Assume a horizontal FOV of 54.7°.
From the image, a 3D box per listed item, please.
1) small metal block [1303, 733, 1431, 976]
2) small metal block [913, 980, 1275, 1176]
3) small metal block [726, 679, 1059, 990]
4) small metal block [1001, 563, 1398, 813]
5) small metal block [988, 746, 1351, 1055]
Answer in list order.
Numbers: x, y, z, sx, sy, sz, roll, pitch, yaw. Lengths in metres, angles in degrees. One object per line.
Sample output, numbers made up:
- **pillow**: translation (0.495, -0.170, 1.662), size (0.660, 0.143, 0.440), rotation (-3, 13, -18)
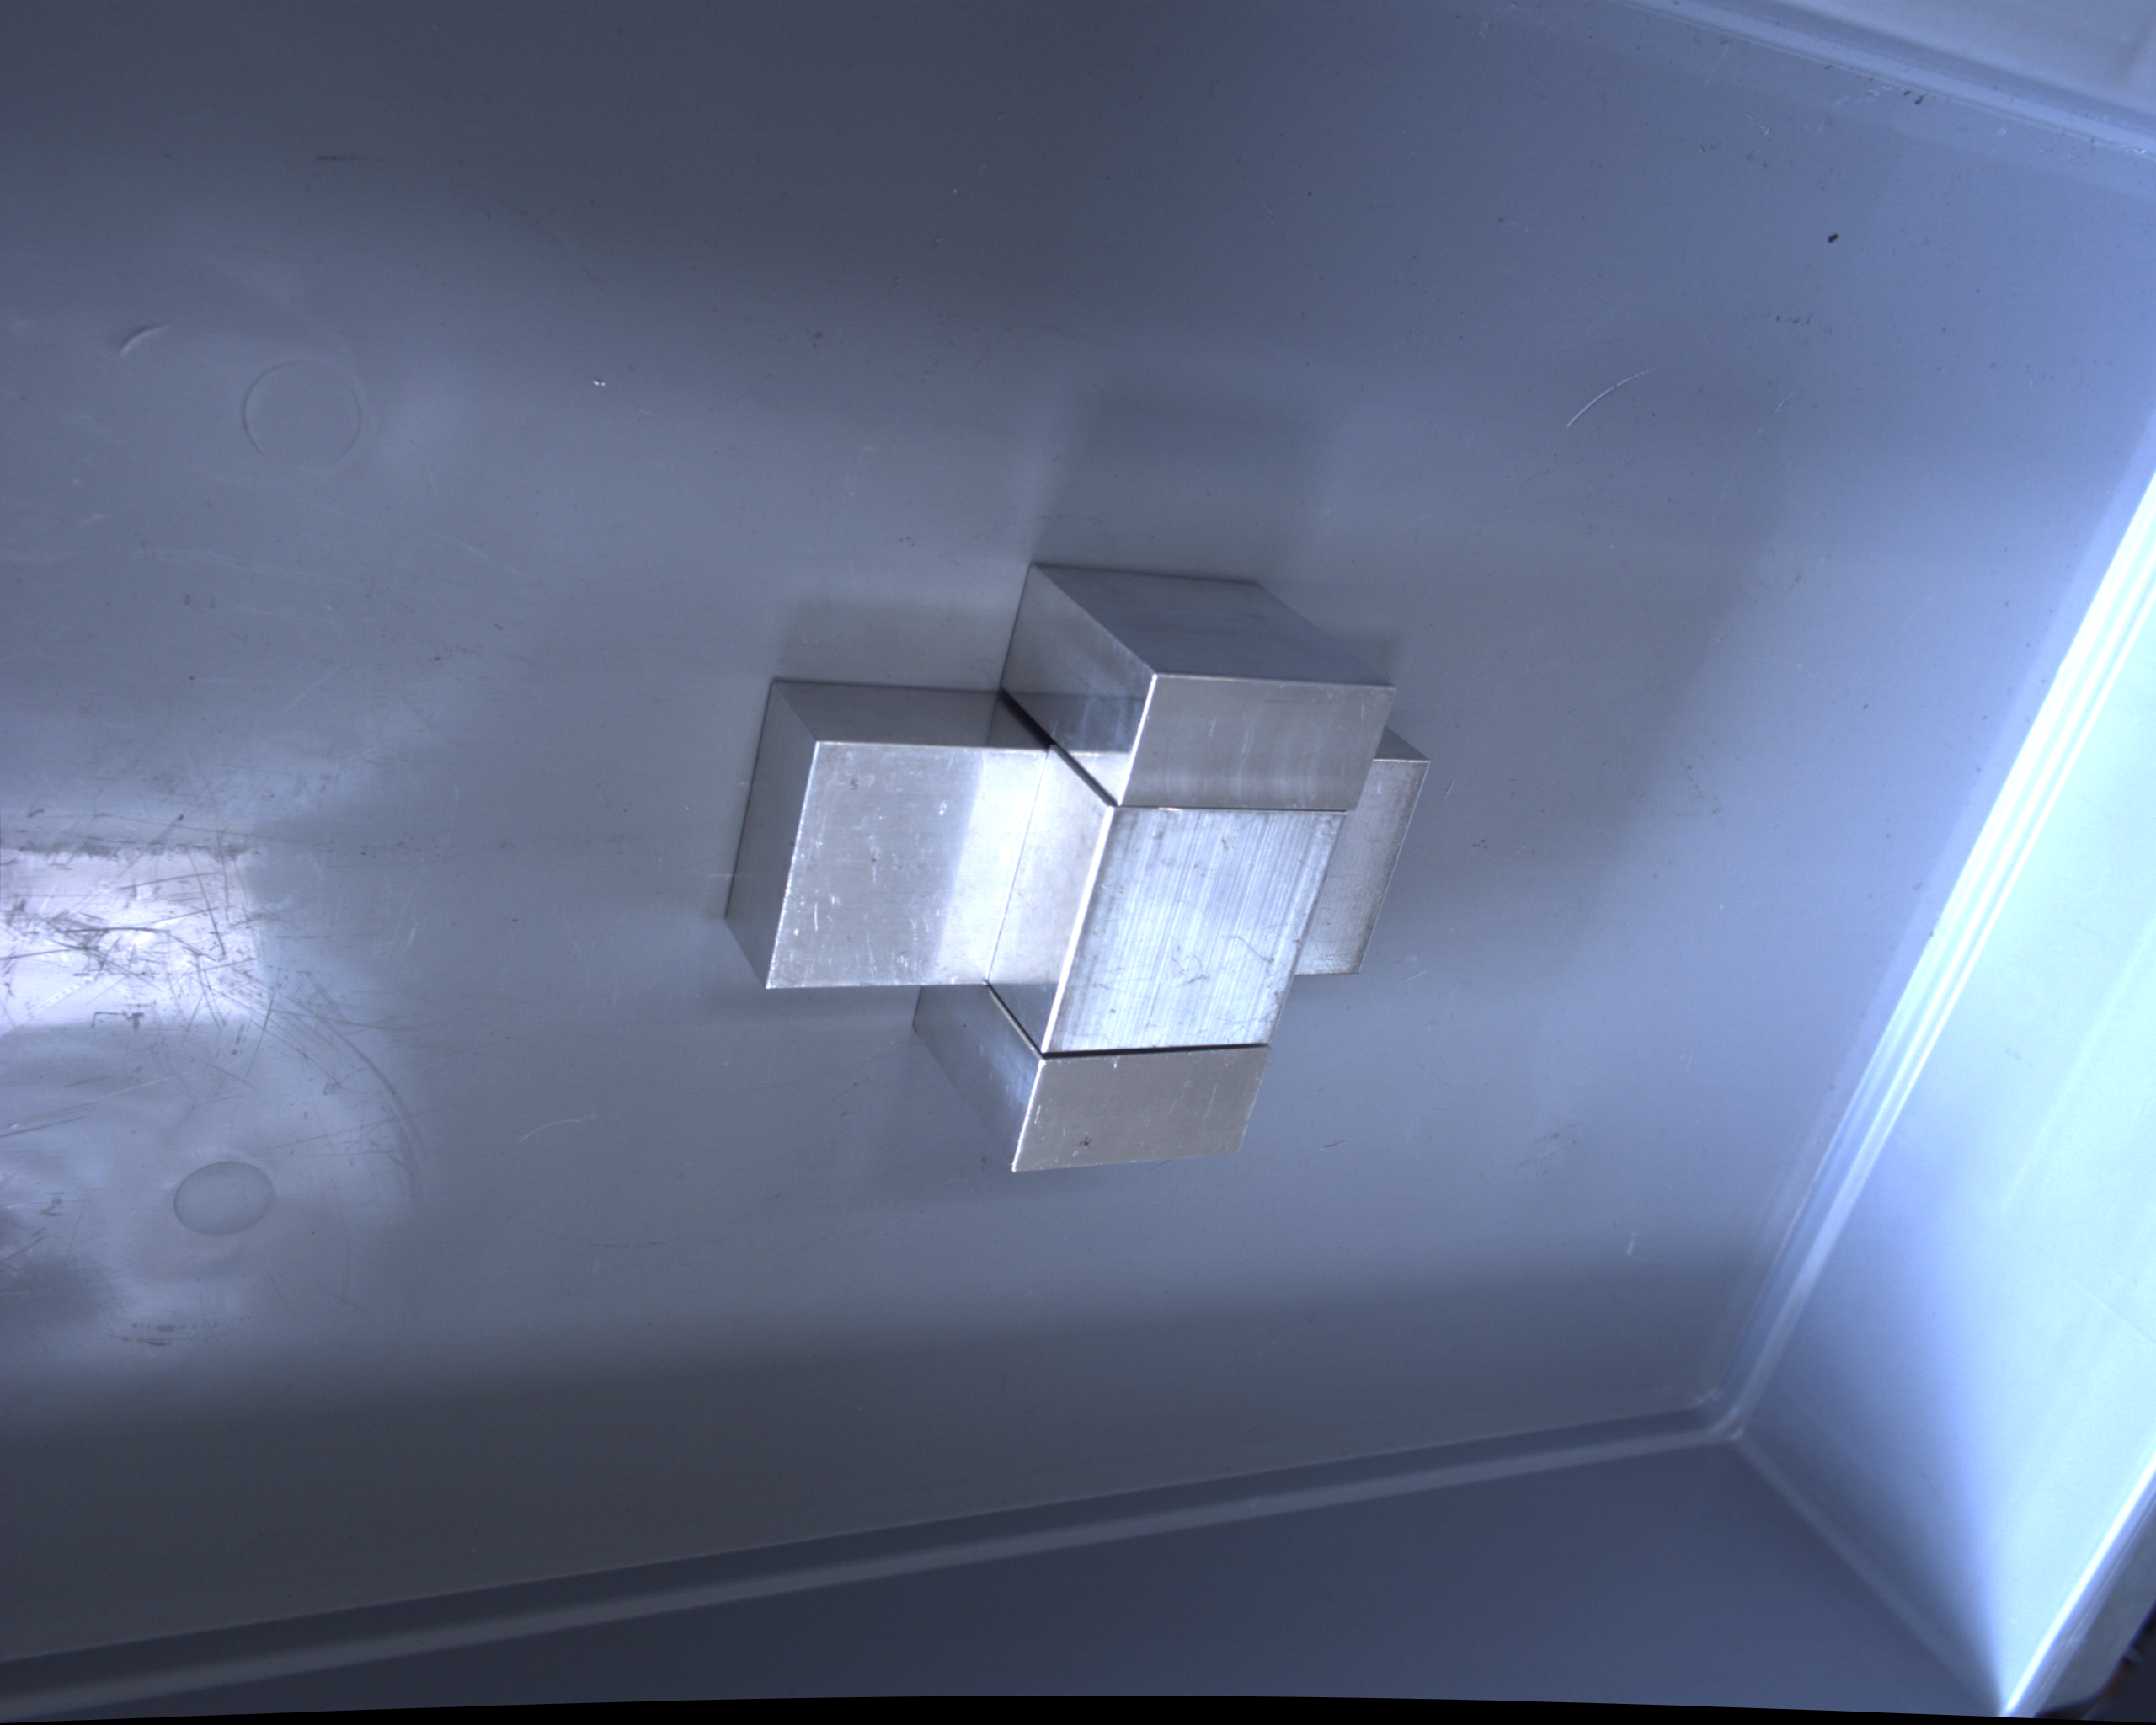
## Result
- **small metal block**: translation (0.037, -0.004, 0.424), size (0.050, 0.025, 0.050), rotation (0, 118, -29)
- **small metal block**: translation (0.002, 0.035, 0.411), size (0.050, 0.050, 0.025), rotation (0, 118, -29)
- **small metal block**: translation (-0.033, -0.005, 0.385), size (0.050, 0.025, 0.050), rotation (1, 118, -29)
- **small metal block**: translation (0.021, -0.032, 0.381), size (0.050, 0.050, 0.025), rotation (0, 118, -29)
- **small metal block**: translation (0.016, 0.007, 0.386), size (0.050, 0.025, 0.050), rotation (0, 118, -29)
